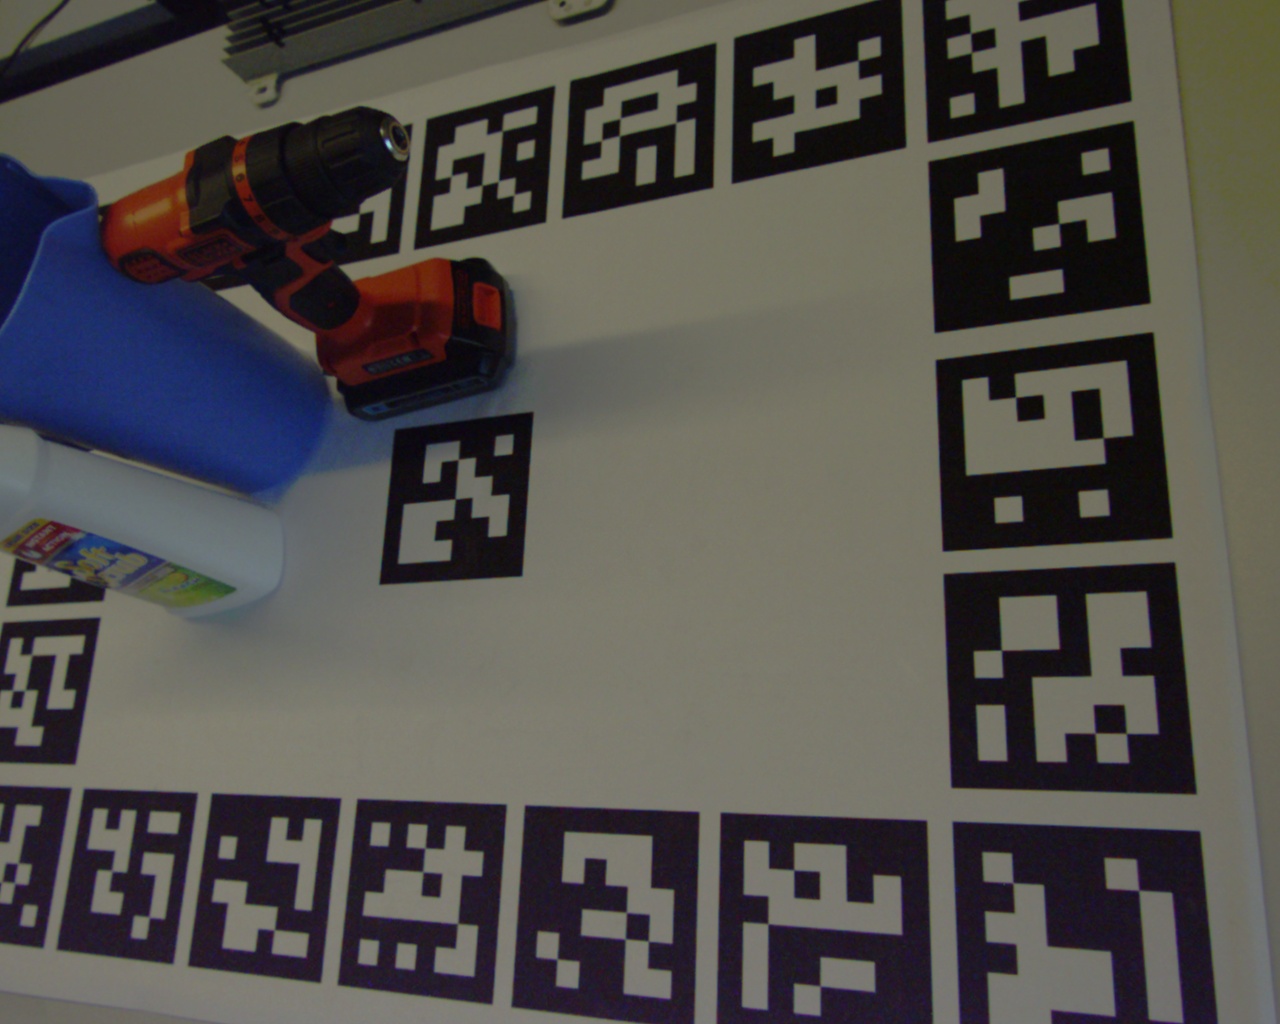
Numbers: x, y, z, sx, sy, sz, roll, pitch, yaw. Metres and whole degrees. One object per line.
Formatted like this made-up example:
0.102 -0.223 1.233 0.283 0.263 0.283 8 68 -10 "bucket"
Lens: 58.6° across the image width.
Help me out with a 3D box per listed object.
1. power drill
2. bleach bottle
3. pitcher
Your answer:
-0.161 -0.127 0.647 0.186 0.185 0.057 -9 75 17 "power drill"
-0.339 -0.004 0.667 0.103 0.247 0.068 -13 71 23 "bleach bottle"
-0.318 -0.099 0.705 0.190 0.239 0.134 -32 66 15 "pitcher"
